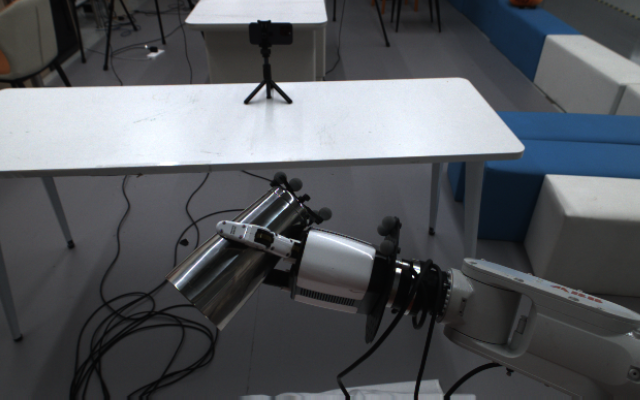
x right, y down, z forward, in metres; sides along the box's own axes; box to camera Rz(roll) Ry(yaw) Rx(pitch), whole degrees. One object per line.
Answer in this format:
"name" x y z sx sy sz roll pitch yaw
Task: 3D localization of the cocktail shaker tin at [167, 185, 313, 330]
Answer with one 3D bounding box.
"cocktail shaker tin" -0.091 0.058 0.588 0.093 0.093 0.170 32 65 35
